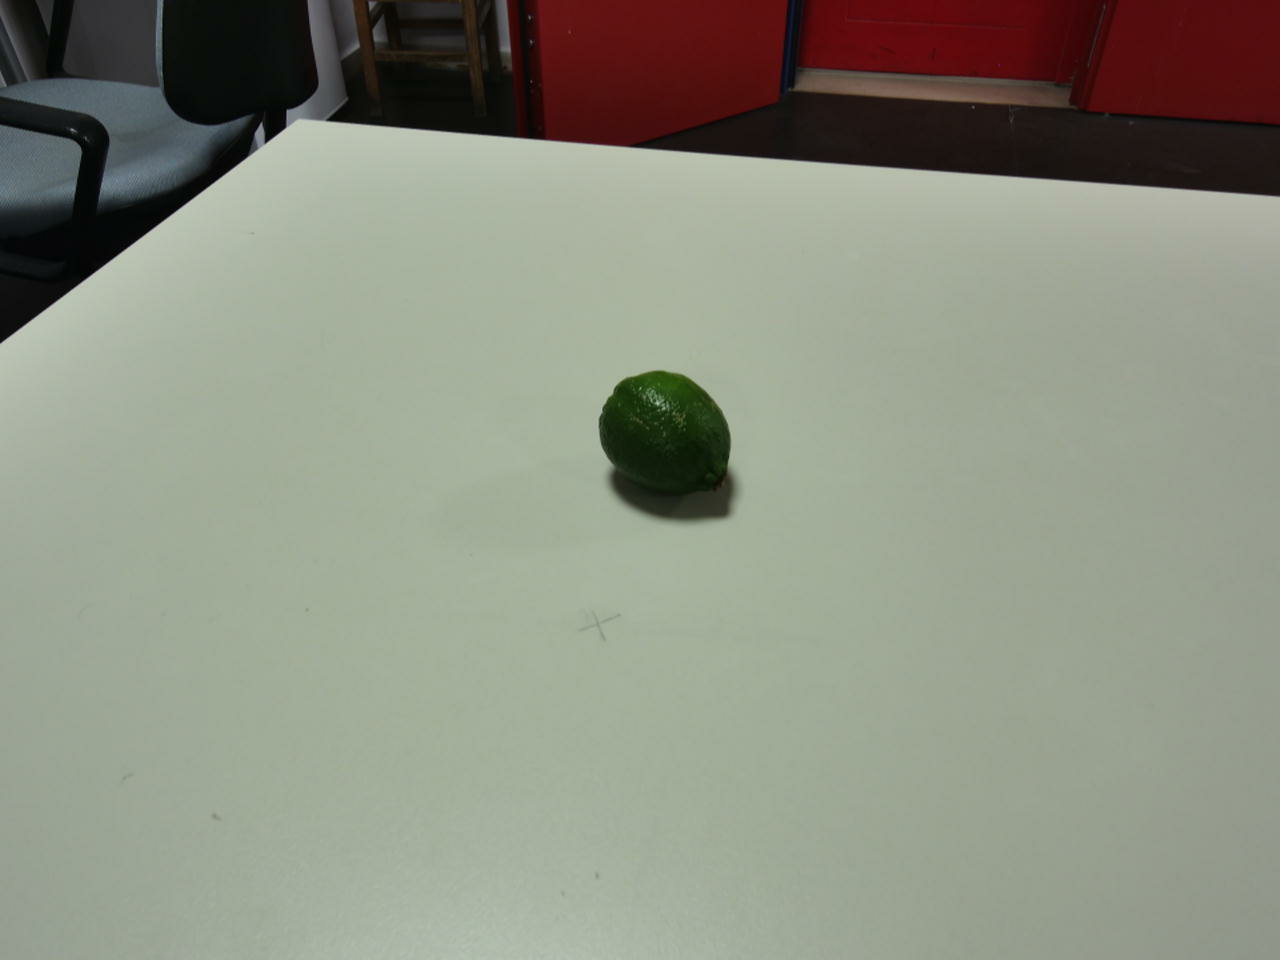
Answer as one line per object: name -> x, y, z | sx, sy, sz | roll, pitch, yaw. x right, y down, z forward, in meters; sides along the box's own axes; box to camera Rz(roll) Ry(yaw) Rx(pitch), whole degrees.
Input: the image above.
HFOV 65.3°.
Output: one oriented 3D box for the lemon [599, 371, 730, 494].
lemon -> 0.011, -0.022, 0.434 | 0.057, 0.051, 0.054 | 7, 39, 8
